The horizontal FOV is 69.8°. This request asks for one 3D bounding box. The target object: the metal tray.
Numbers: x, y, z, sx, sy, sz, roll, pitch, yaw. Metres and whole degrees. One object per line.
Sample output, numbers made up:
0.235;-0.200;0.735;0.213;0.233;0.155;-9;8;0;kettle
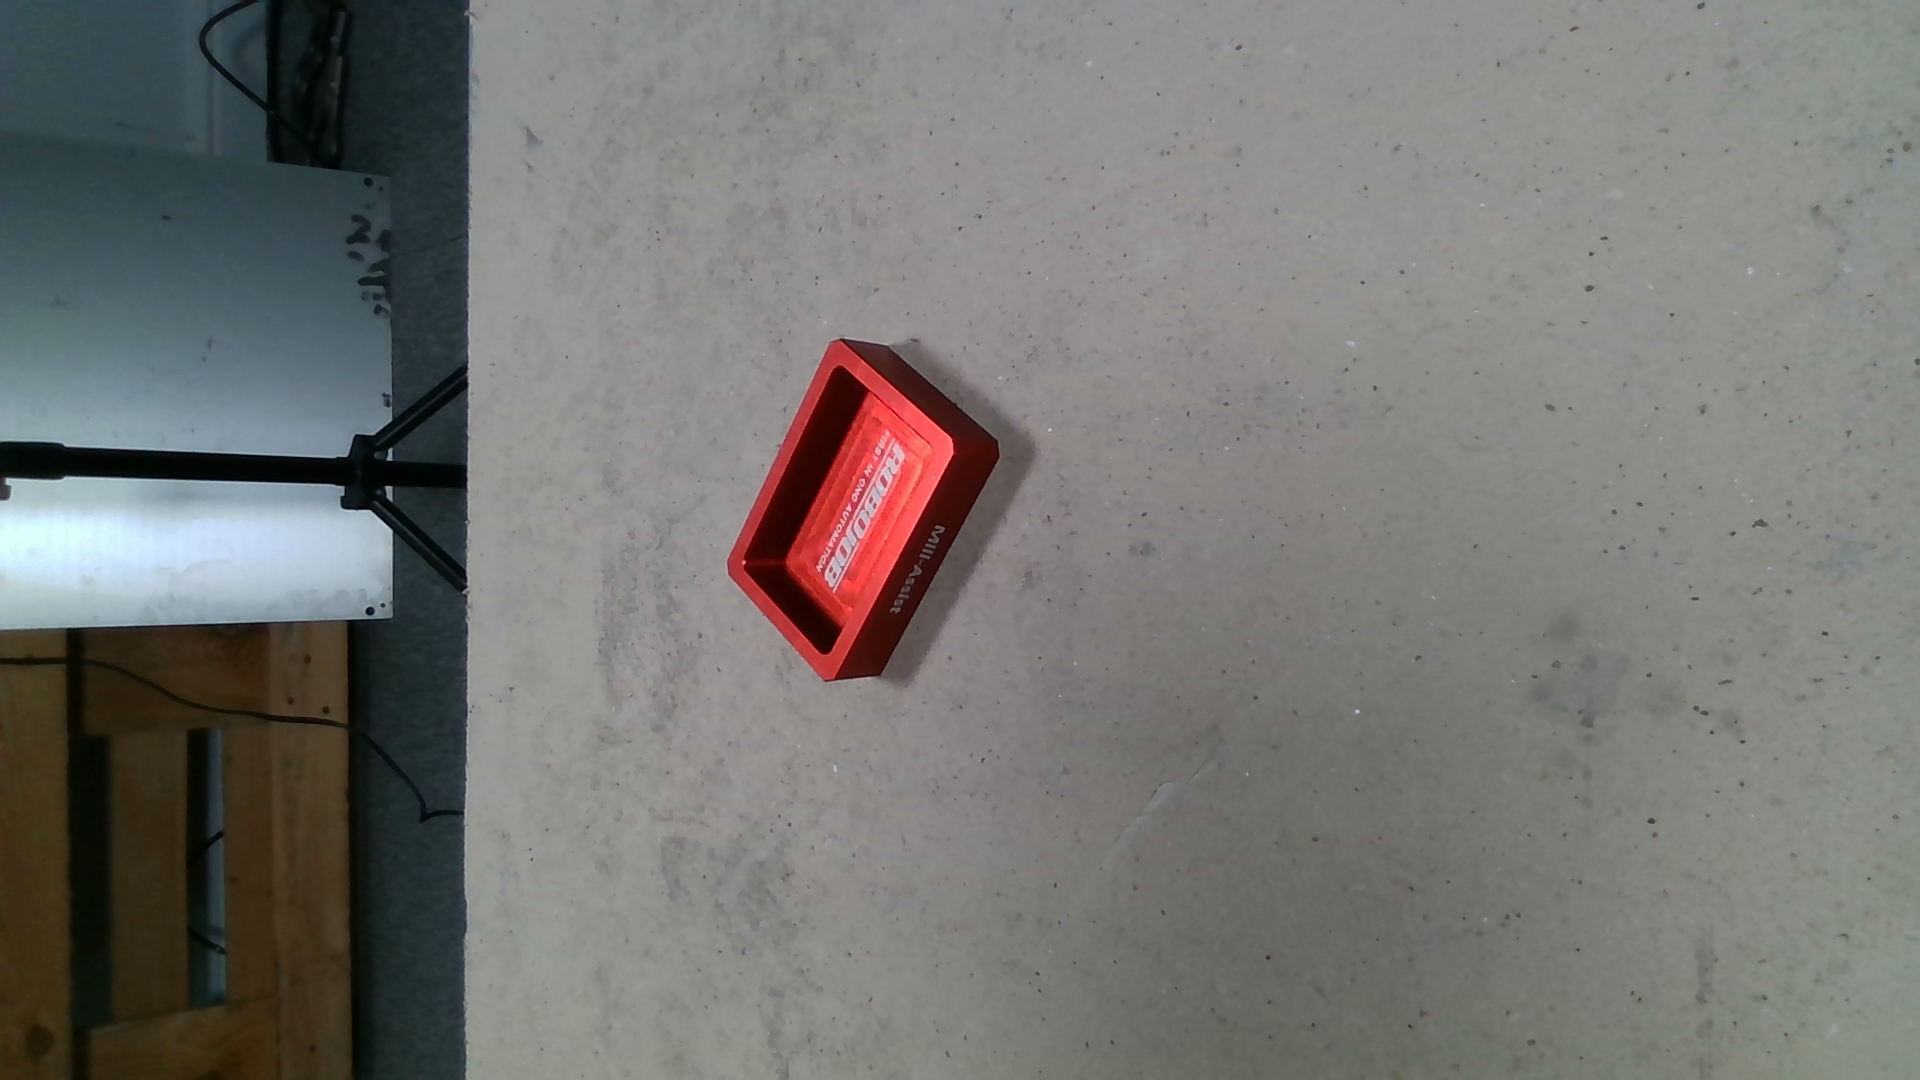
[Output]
-0.047;-0.013;0.619;0.090;0.030;0.130;43;117;31;metal tray
